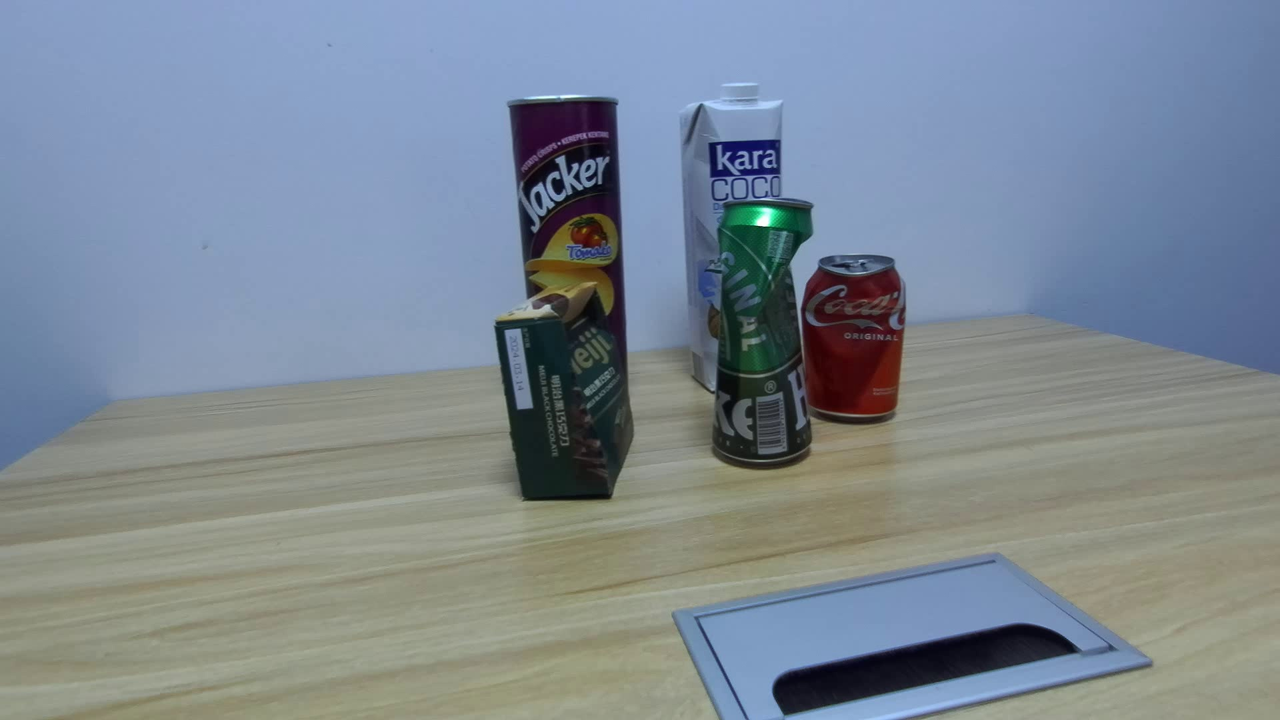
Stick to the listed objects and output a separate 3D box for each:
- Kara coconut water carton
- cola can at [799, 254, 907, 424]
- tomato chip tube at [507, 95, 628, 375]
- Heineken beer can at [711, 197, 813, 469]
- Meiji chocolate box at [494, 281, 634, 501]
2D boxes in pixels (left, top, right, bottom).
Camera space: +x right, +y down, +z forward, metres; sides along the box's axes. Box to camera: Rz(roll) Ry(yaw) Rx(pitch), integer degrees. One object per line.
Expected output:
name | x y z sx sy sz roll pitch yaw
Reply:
Kara coconut water carton | 0.080 -0.098 0.589 0.077 0.245 0.075 -5 13 -8
cola can | 0.160 -0.018 0.522 0.072 0.117 0.066 7 18 29
tomato chip tube | -0.050 -0.076 0.549 0.080 0.234 0.076 -3 11 4
Heineken beer can | 0.077 -0.017 0.446 0.078 0.164 0.066 -5 13 -24
Meiji chocolate box | -0.049 0.019 0.447 0.058 0.110 0.113 -6 12 0
